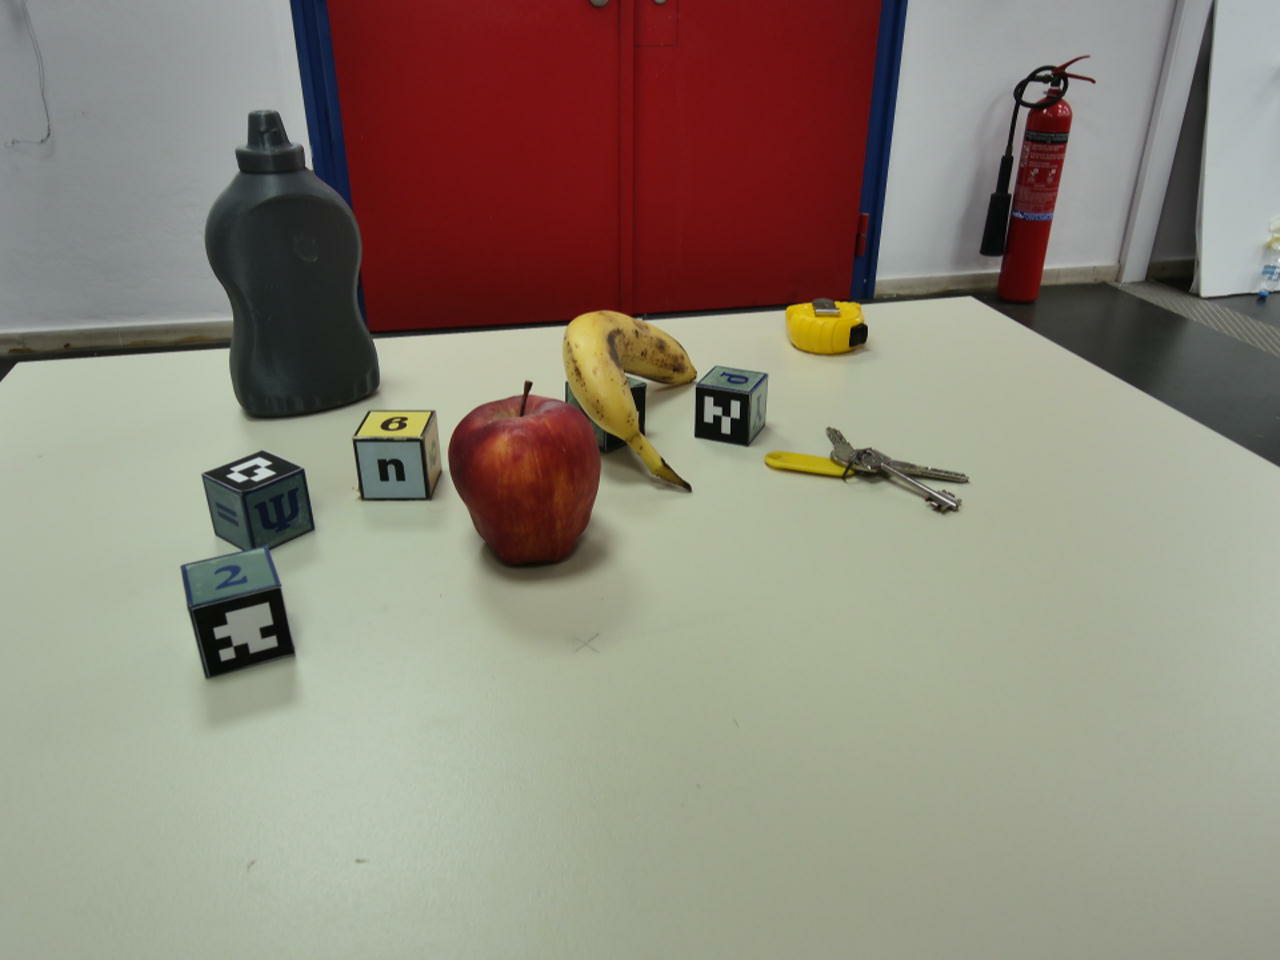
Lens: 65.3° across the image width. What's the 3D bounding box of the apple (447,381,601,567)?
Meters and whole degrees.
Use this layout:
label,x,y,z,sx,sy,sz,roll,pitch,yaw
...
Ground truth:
label,x,y,z,sx,sy,sz,roll,pitch,yaw
apple,-0.059,-0.007,0.509,0.083,0.090,0.083,-1,26,0
